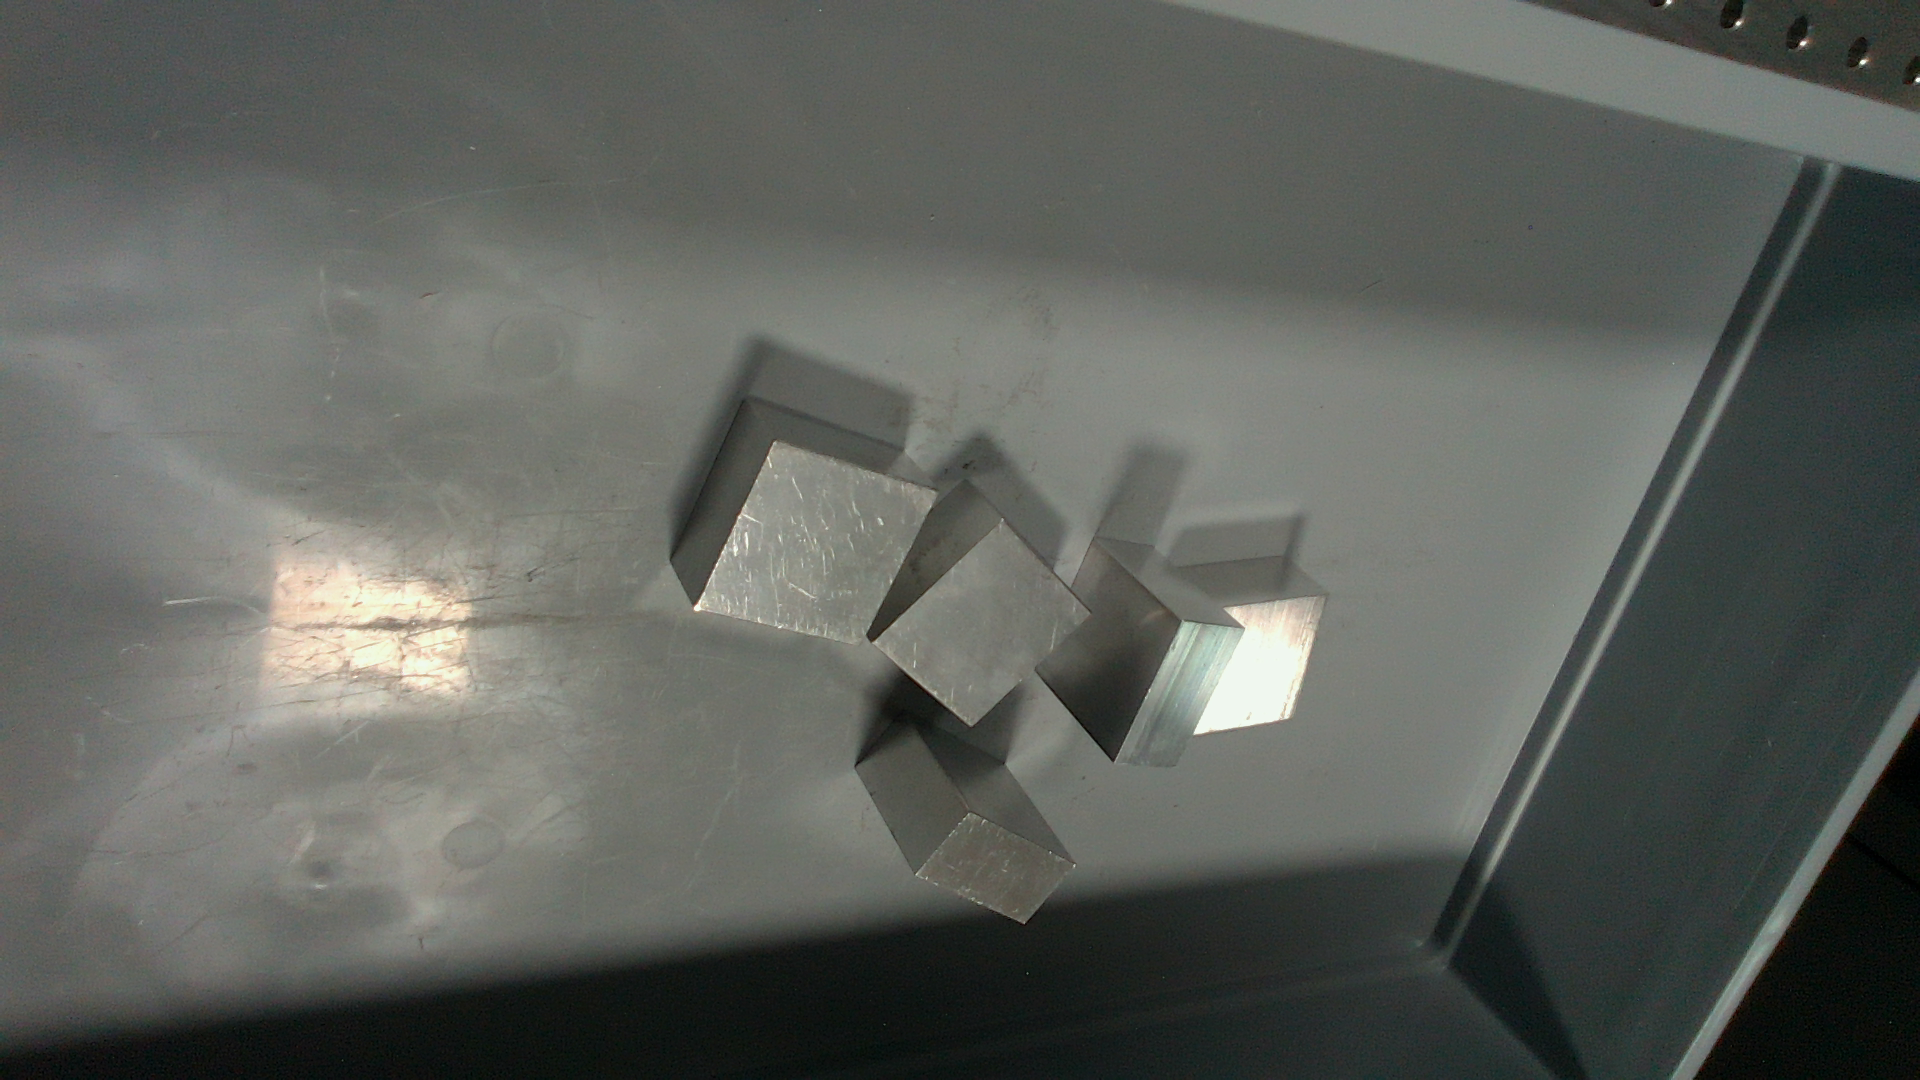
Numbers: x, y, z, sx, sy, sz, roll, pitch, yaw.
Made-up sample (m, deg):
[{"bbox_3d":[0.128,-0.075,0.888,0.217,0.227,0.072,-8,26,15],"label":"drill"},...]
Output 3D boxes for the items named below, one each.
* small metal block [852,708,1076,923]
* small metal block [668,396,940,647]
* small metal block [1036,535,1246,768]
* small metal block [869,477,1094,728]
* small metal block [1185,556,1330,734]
[{"bbox_3d":[0.001,0.085,0.423,0.025,0.050,0.050,-49,129,8],"label":"small metal block"},{"bbox_3d":[-0.041,-0.004,0.362,0.050,0.025,0.050,16,110,-35],"label":"small metal block"},{"bbox_3d":[0.053,0.034,0.421,0.025,0.050,0.050,9,114,-33],"label":"small metal block"},{"bbox_3d":[0.002,0.019,0.399,0.050,0.025,0.050,-44,129,2],"label":"small metal block"},{"bbox_3d":[0.089,0.035,0.457,0.050,0.025,0.050,-6,121,-25],"label":"small metal block"}]
